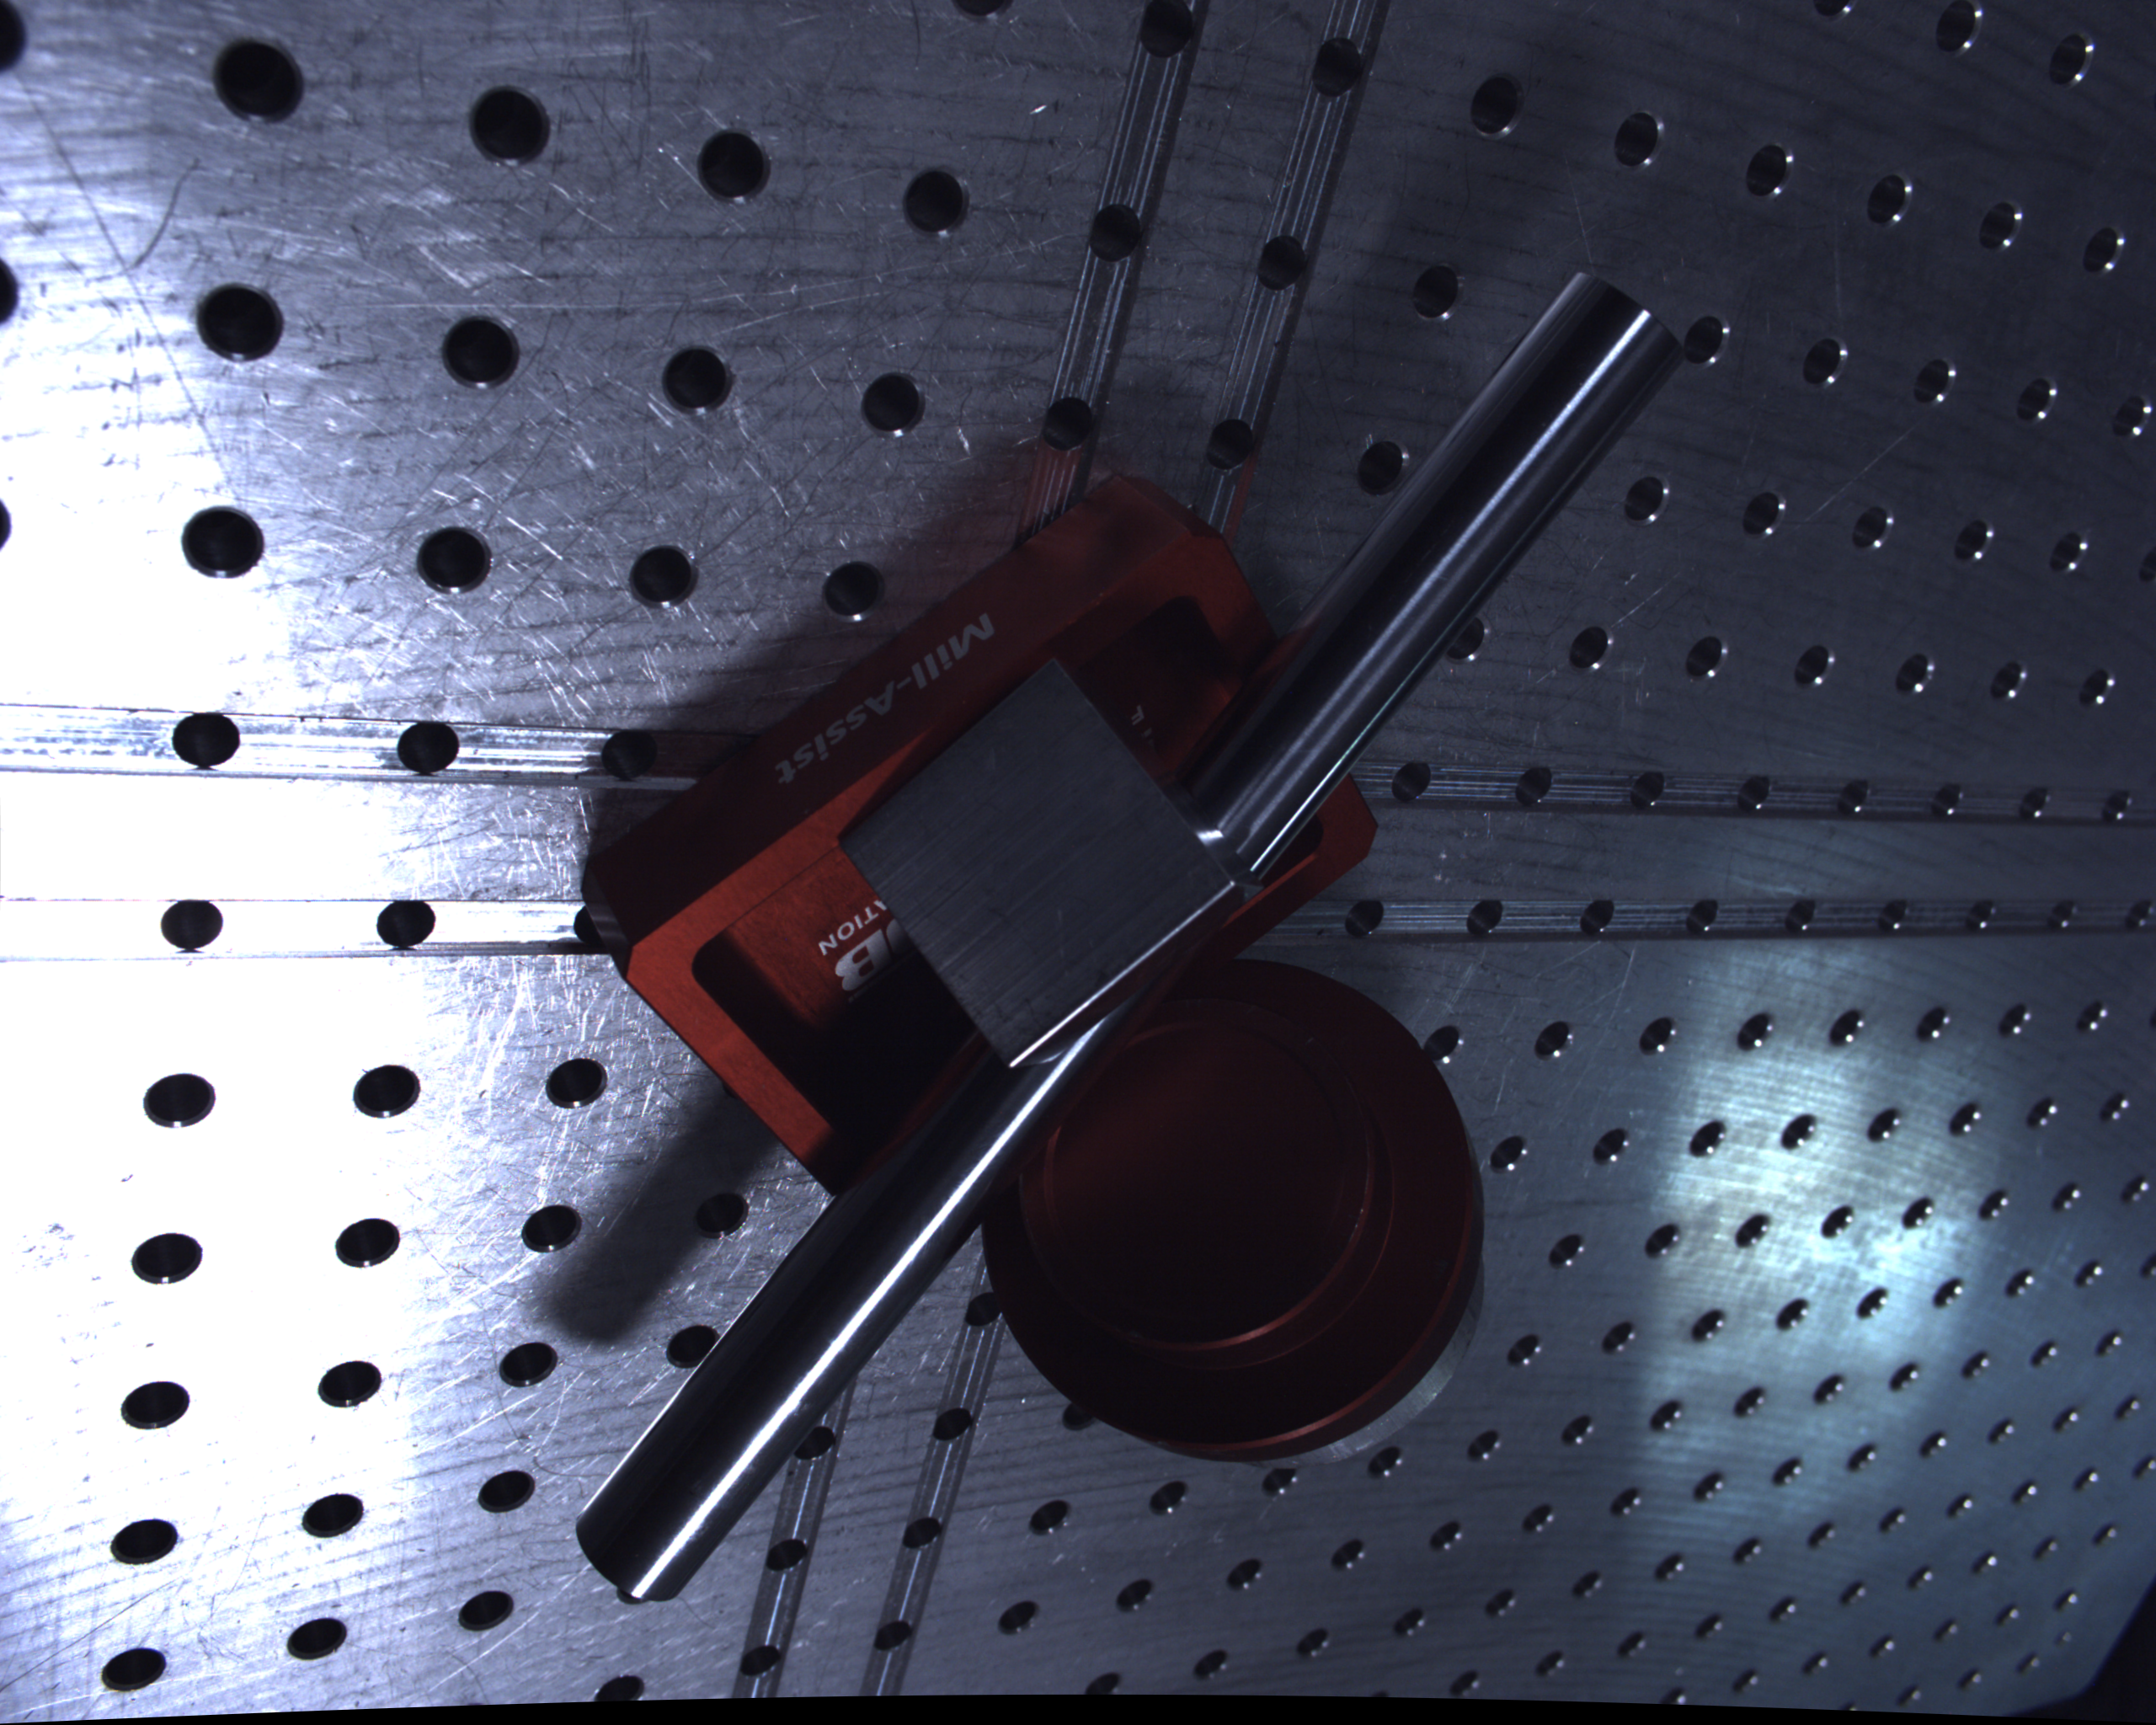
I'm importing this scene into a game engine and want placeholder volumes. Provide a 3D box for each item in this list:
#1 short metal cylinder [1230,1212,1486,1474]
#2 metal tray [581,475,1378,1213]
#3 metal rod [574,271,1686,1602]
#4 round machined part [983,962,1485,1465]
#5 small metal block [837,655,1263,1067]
[{"bbox_3d":[0.041,0.083,0.450,0.080,0.080,0.050,-37,130,-4],"label":"short metal cylinder"},{"bbox_3d":[-0.015,-0.001,0.400,0.130,0.030,0.090,-37,130,-4],"label":"metal tray"},{"bbox_3d":[0.004,0.020,0.388,0.025,0.025,0.299,32,100,-39],"label":"metal rod"},{"bbox_3d":[0.027,0.065,0.407,0.098,0.098,0.042,-39,152,-2],"label":"round machined part"},{"bbox_3d":[-0.005,0.000,0.366,0.050,0.050,0.025,-40,168,11],"label":"small metal block"}]
